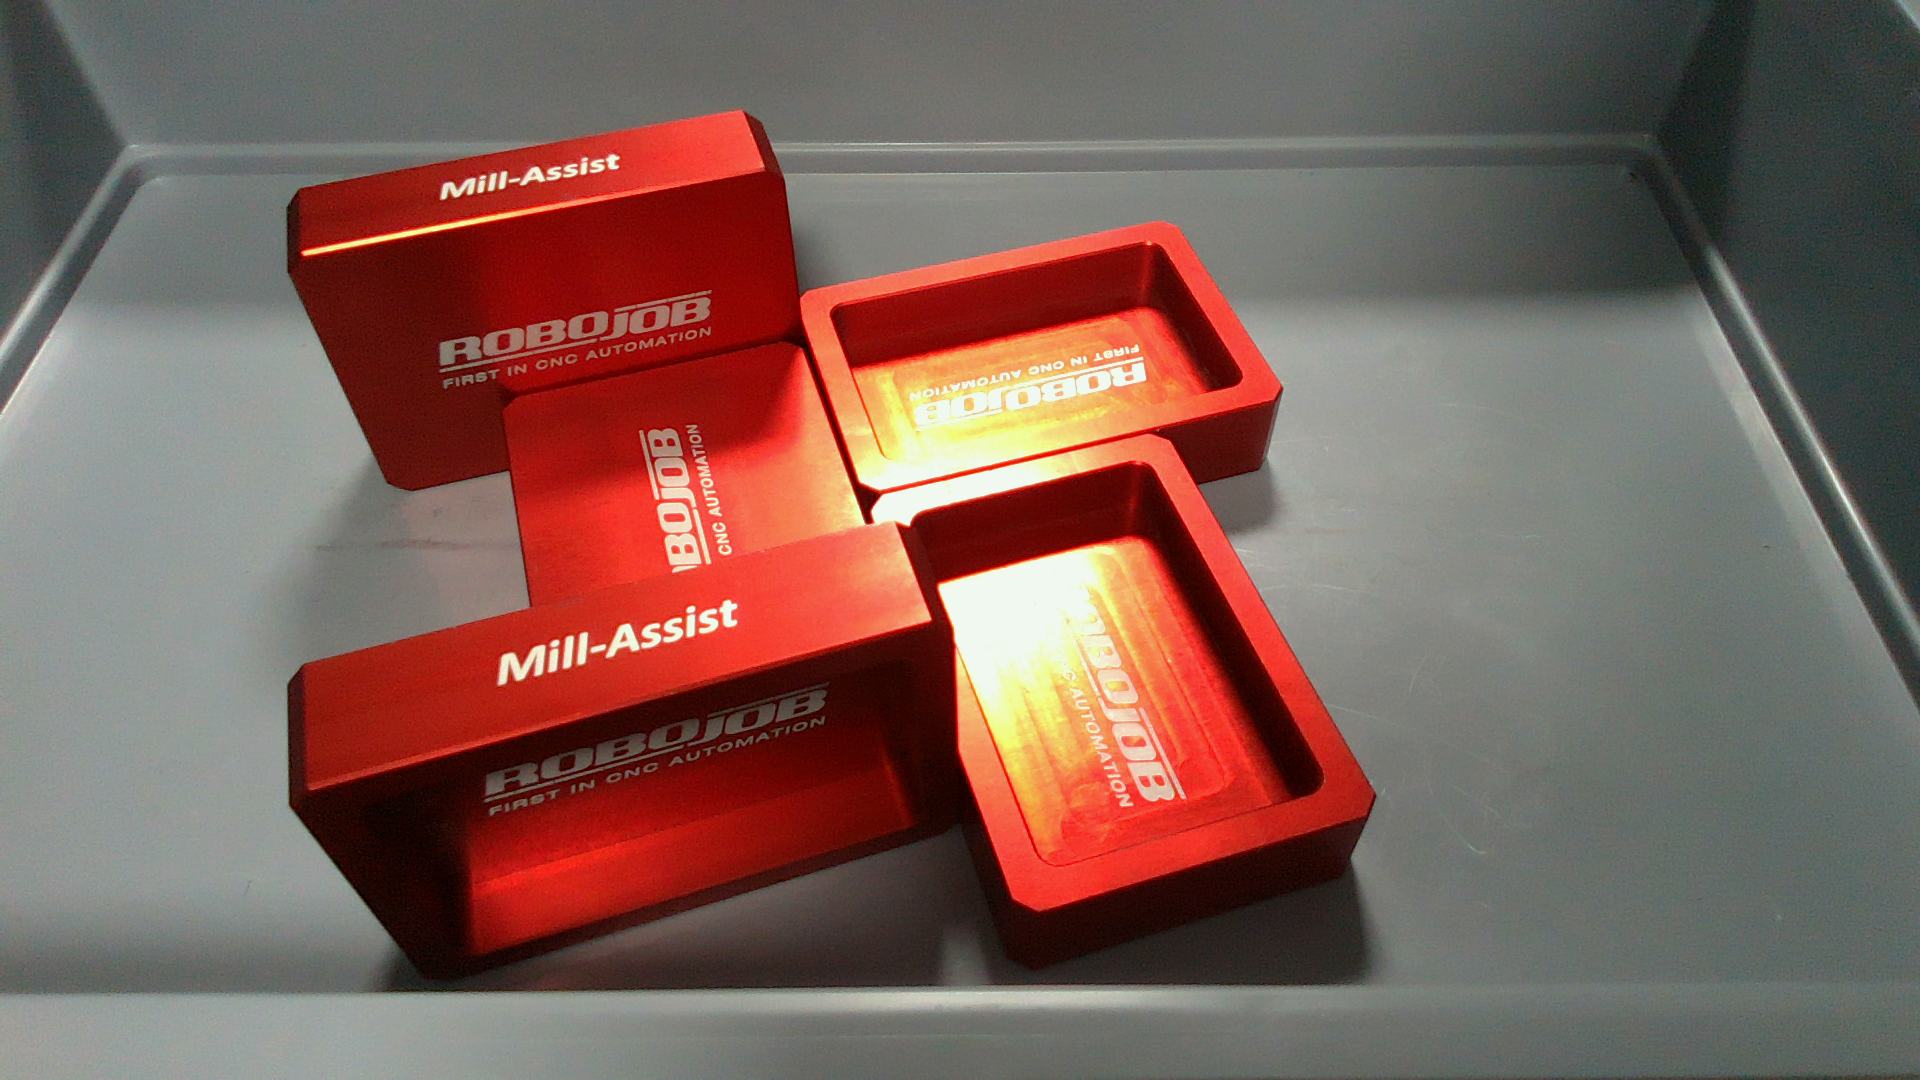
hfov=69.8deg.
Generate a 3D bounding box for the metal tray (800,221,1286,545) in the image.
[{"bbox_3d":[0.022,-0.051,0.429,0.130,0.030,0.090,-13,51,-11],"label":"metal tray"}]

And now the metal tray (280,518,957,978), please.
[{"bbox_3d":[-0.067,0.048,0.305,0.130,0.090,0.030,-14,51,-11],"label":"metal tray"}]

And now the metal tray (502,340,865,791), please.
[{"bbox_3d":[-0.072,0.005,0.381,0.090,0.030,0.130,-13,51,-11],"label":"metal tray"}]

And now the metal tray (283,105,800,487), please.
[{"bbox_3d":[-0.115,-0.070,0.404,0.130,0.090,0.030,-14,51,-12],"label":"metal tray"}]

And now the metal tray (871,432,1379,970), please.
[{"bbox_3d":[0.037,0.035,0.357,0.090,0.030,0.130,-13,51,-11],"label":"metal tray"}]
